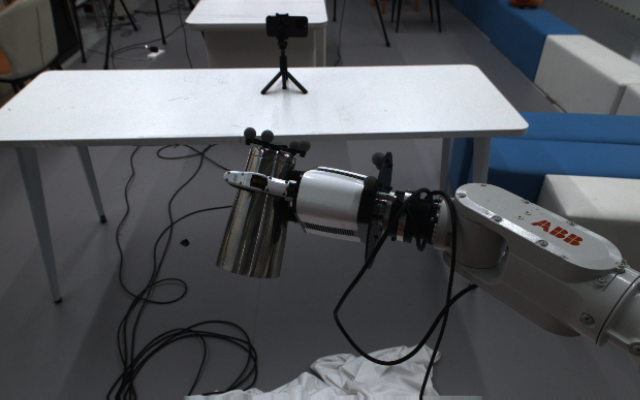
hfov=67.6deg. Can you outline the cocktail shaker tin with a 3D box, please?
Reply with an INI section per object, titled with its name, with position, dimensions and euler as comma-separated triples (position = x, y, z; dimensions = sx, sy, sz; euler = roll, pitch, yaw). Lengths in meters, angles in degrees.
[cocktail shaker tin]
position = -0.081, 0.013, 0.682
dimensions = 0.093, 0.170, 0.093
euler = 13, 1, 0
